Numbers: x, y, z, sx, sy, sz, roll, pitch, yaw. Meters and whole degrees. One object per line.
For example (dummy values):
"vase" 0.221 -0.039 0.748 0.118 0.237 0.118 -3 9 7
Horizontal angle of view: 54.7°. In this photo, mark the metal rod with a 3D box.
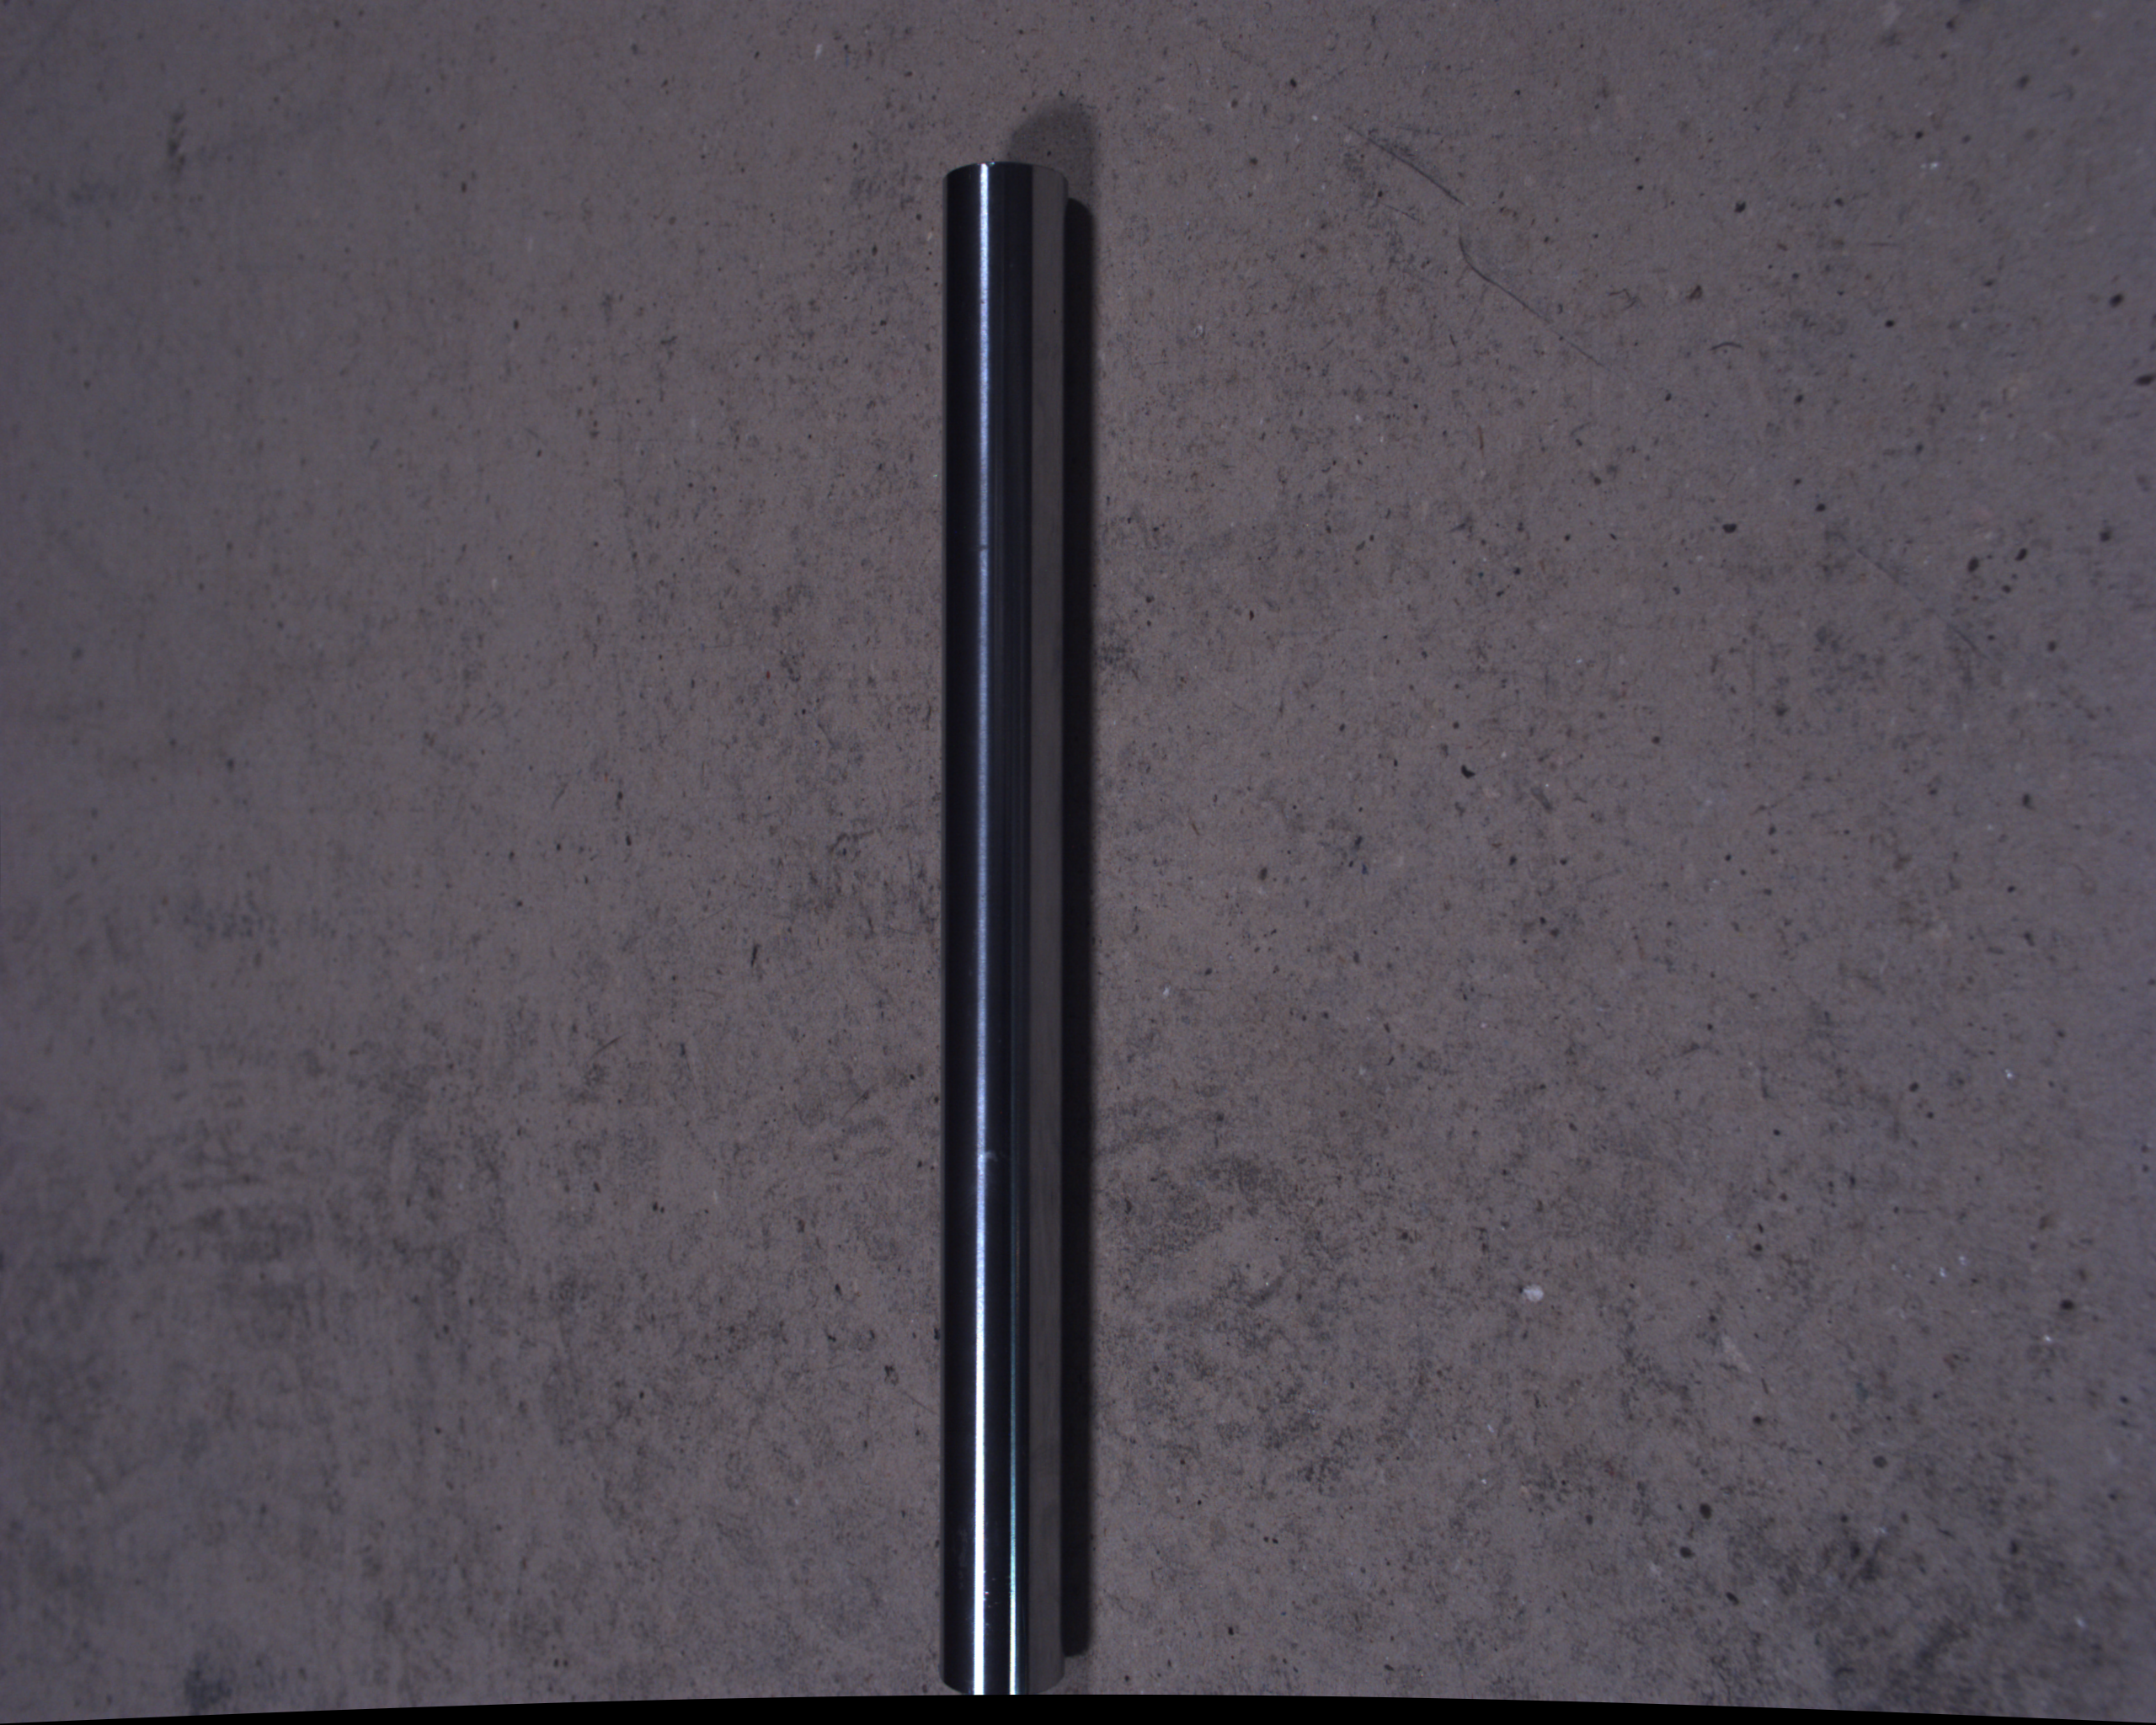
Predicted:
"metal rod" -0.015 0.013 0.417 0.025 0.025 0.298 0 90 39
